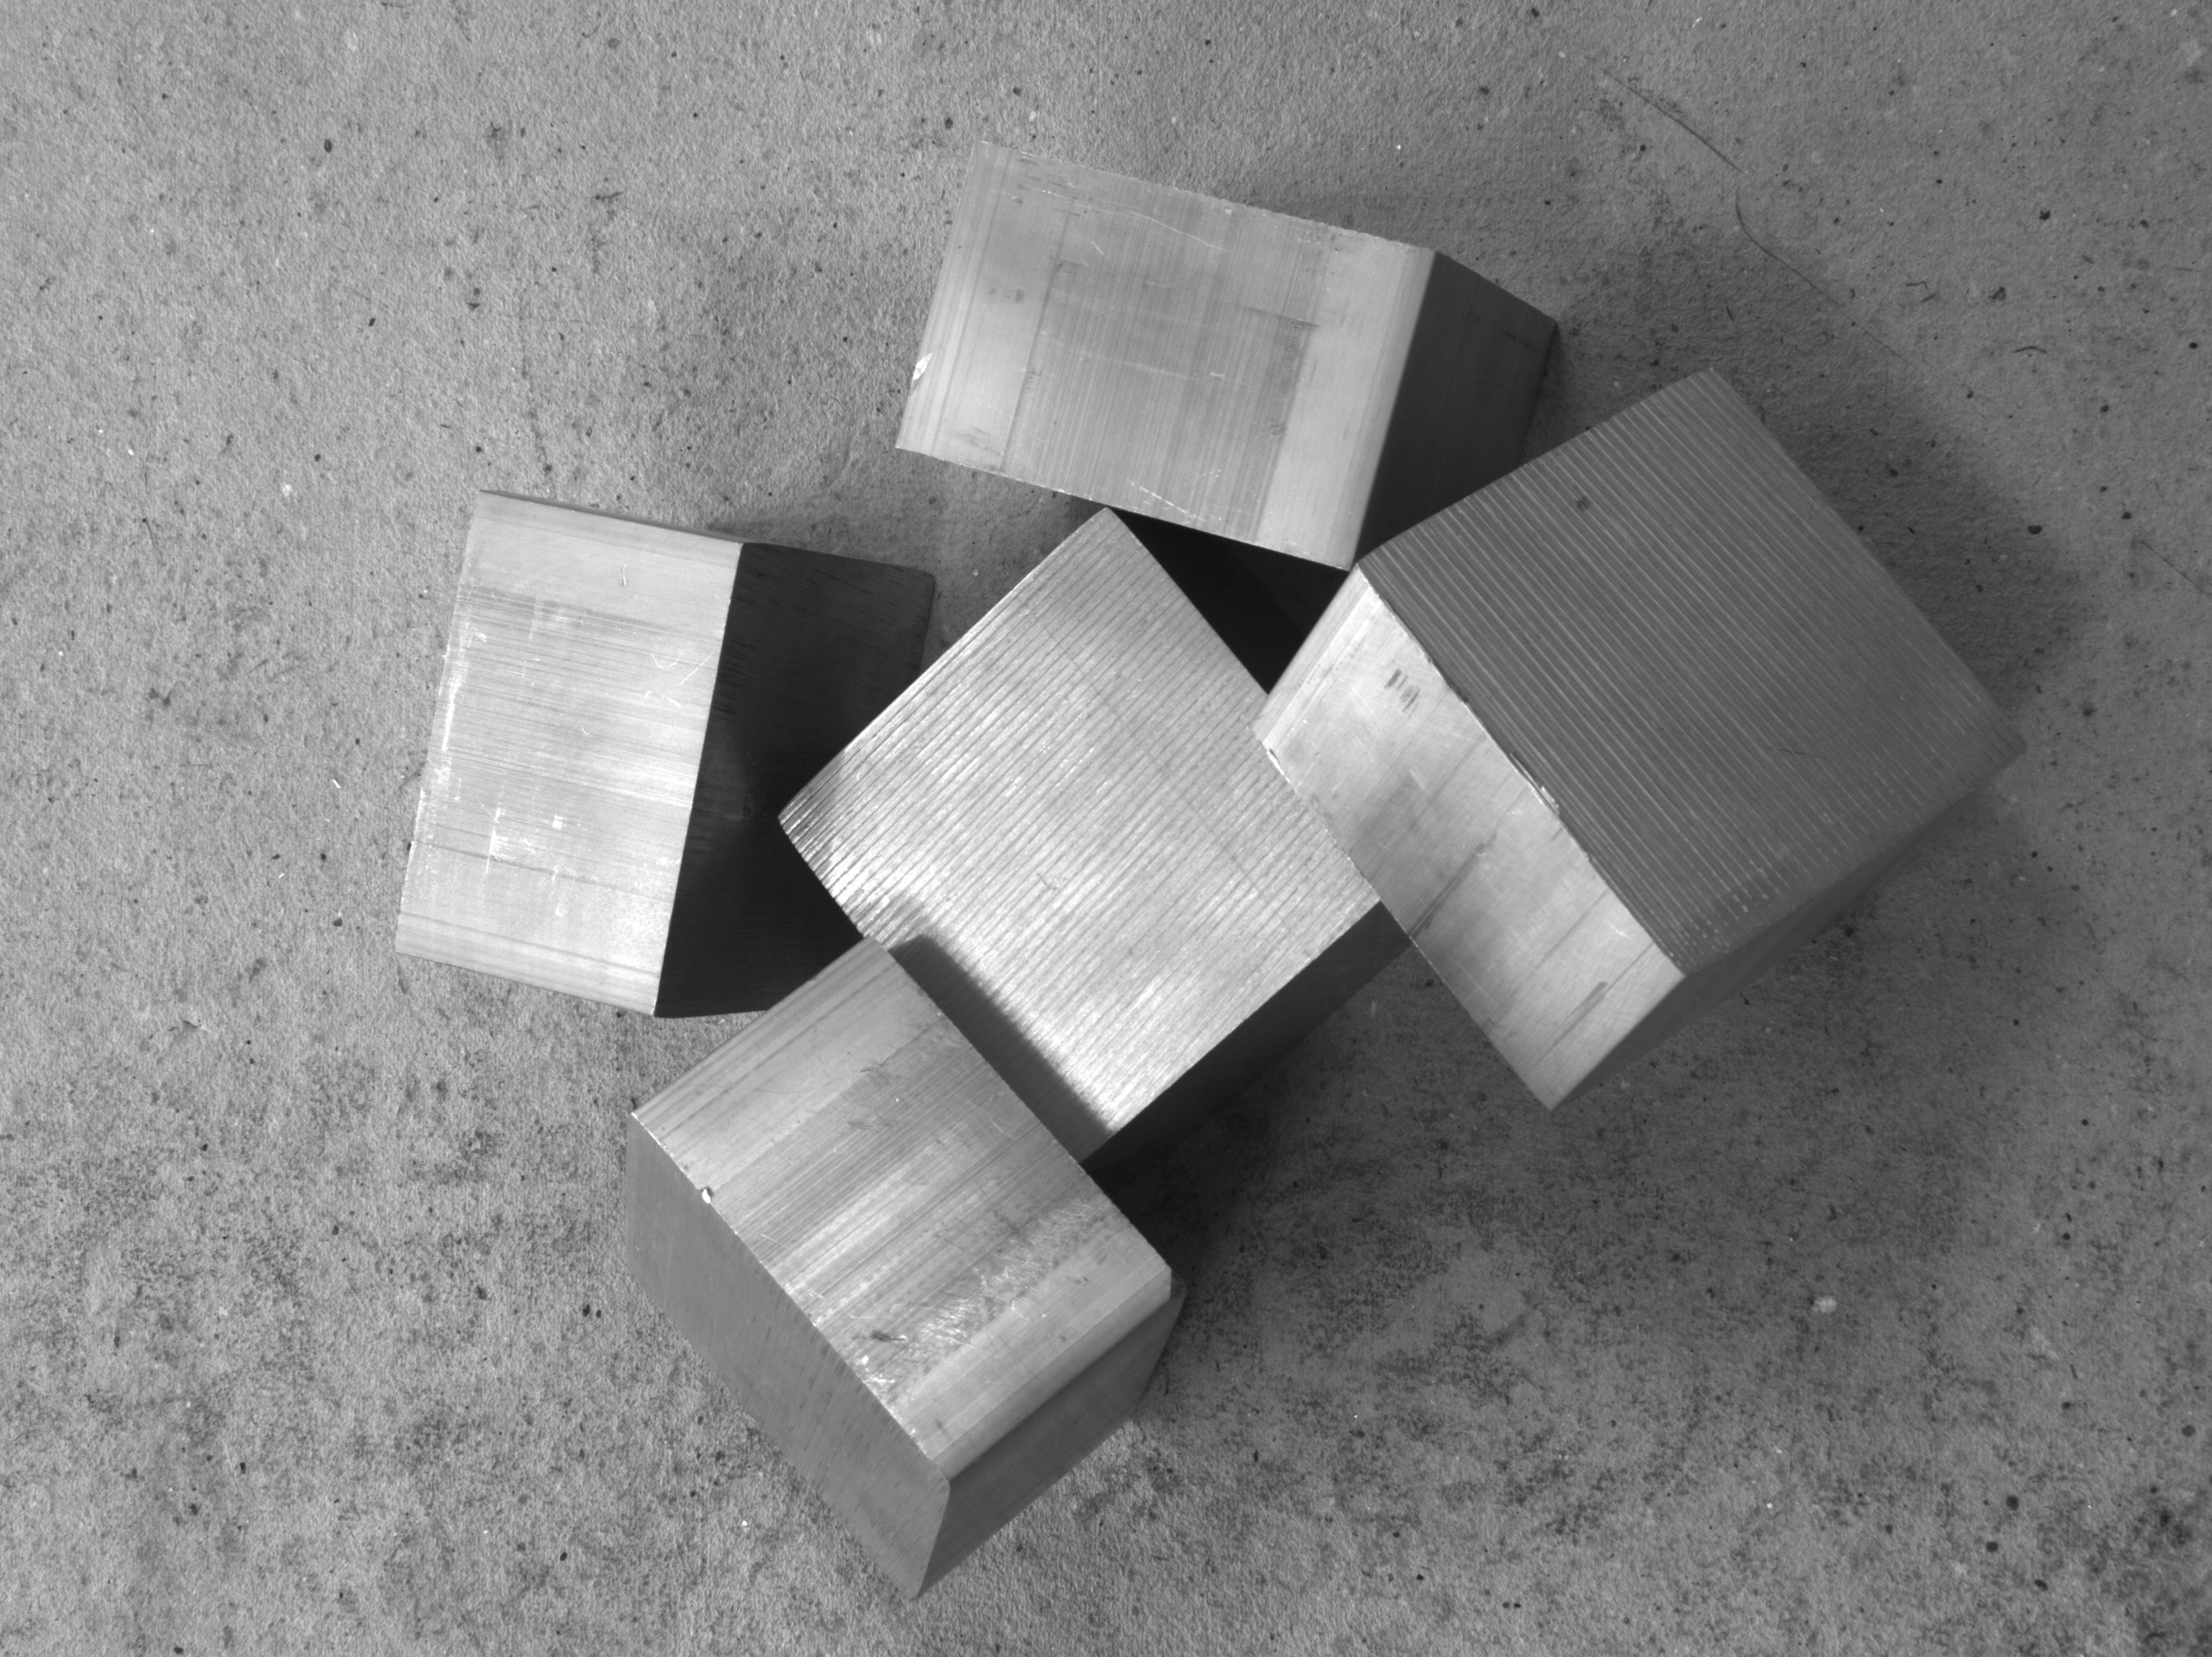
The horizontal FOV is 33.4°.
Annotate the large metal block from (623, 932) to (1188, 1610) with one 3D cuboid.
[{"bbox_3d":[-0.037,0.076,0.624,0.050,0.080,0.080,-37,75,-22],"label":"large metal block"}]

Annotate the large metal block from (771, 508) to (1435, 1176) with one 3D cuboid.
[{"bbox_3d":[0.005,0.003,0.630,0.080,0.050,0.080,-43,78,15],"label":"large metal block"}]

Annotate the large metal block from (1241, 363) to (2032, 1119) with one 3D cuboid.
[{"bbox_3d":[0.083,-0.015,0.581,0.080,0.080,0.050,53,150,13],"label":"large metal block"}]

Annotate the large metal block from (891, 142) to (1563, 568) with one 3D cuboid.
[{"bbox_3d":[0.022,-0.073,0.610,0.080,0.080,0.050,17,95,19],"label":"large metal block"}]

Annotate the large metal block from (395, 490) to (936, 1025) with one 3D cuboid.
[{"bbox_3d":[-0.075,-0.013,0.646,0.050,0.080,0.080,13,95,19],"label":"large metal block"}]
